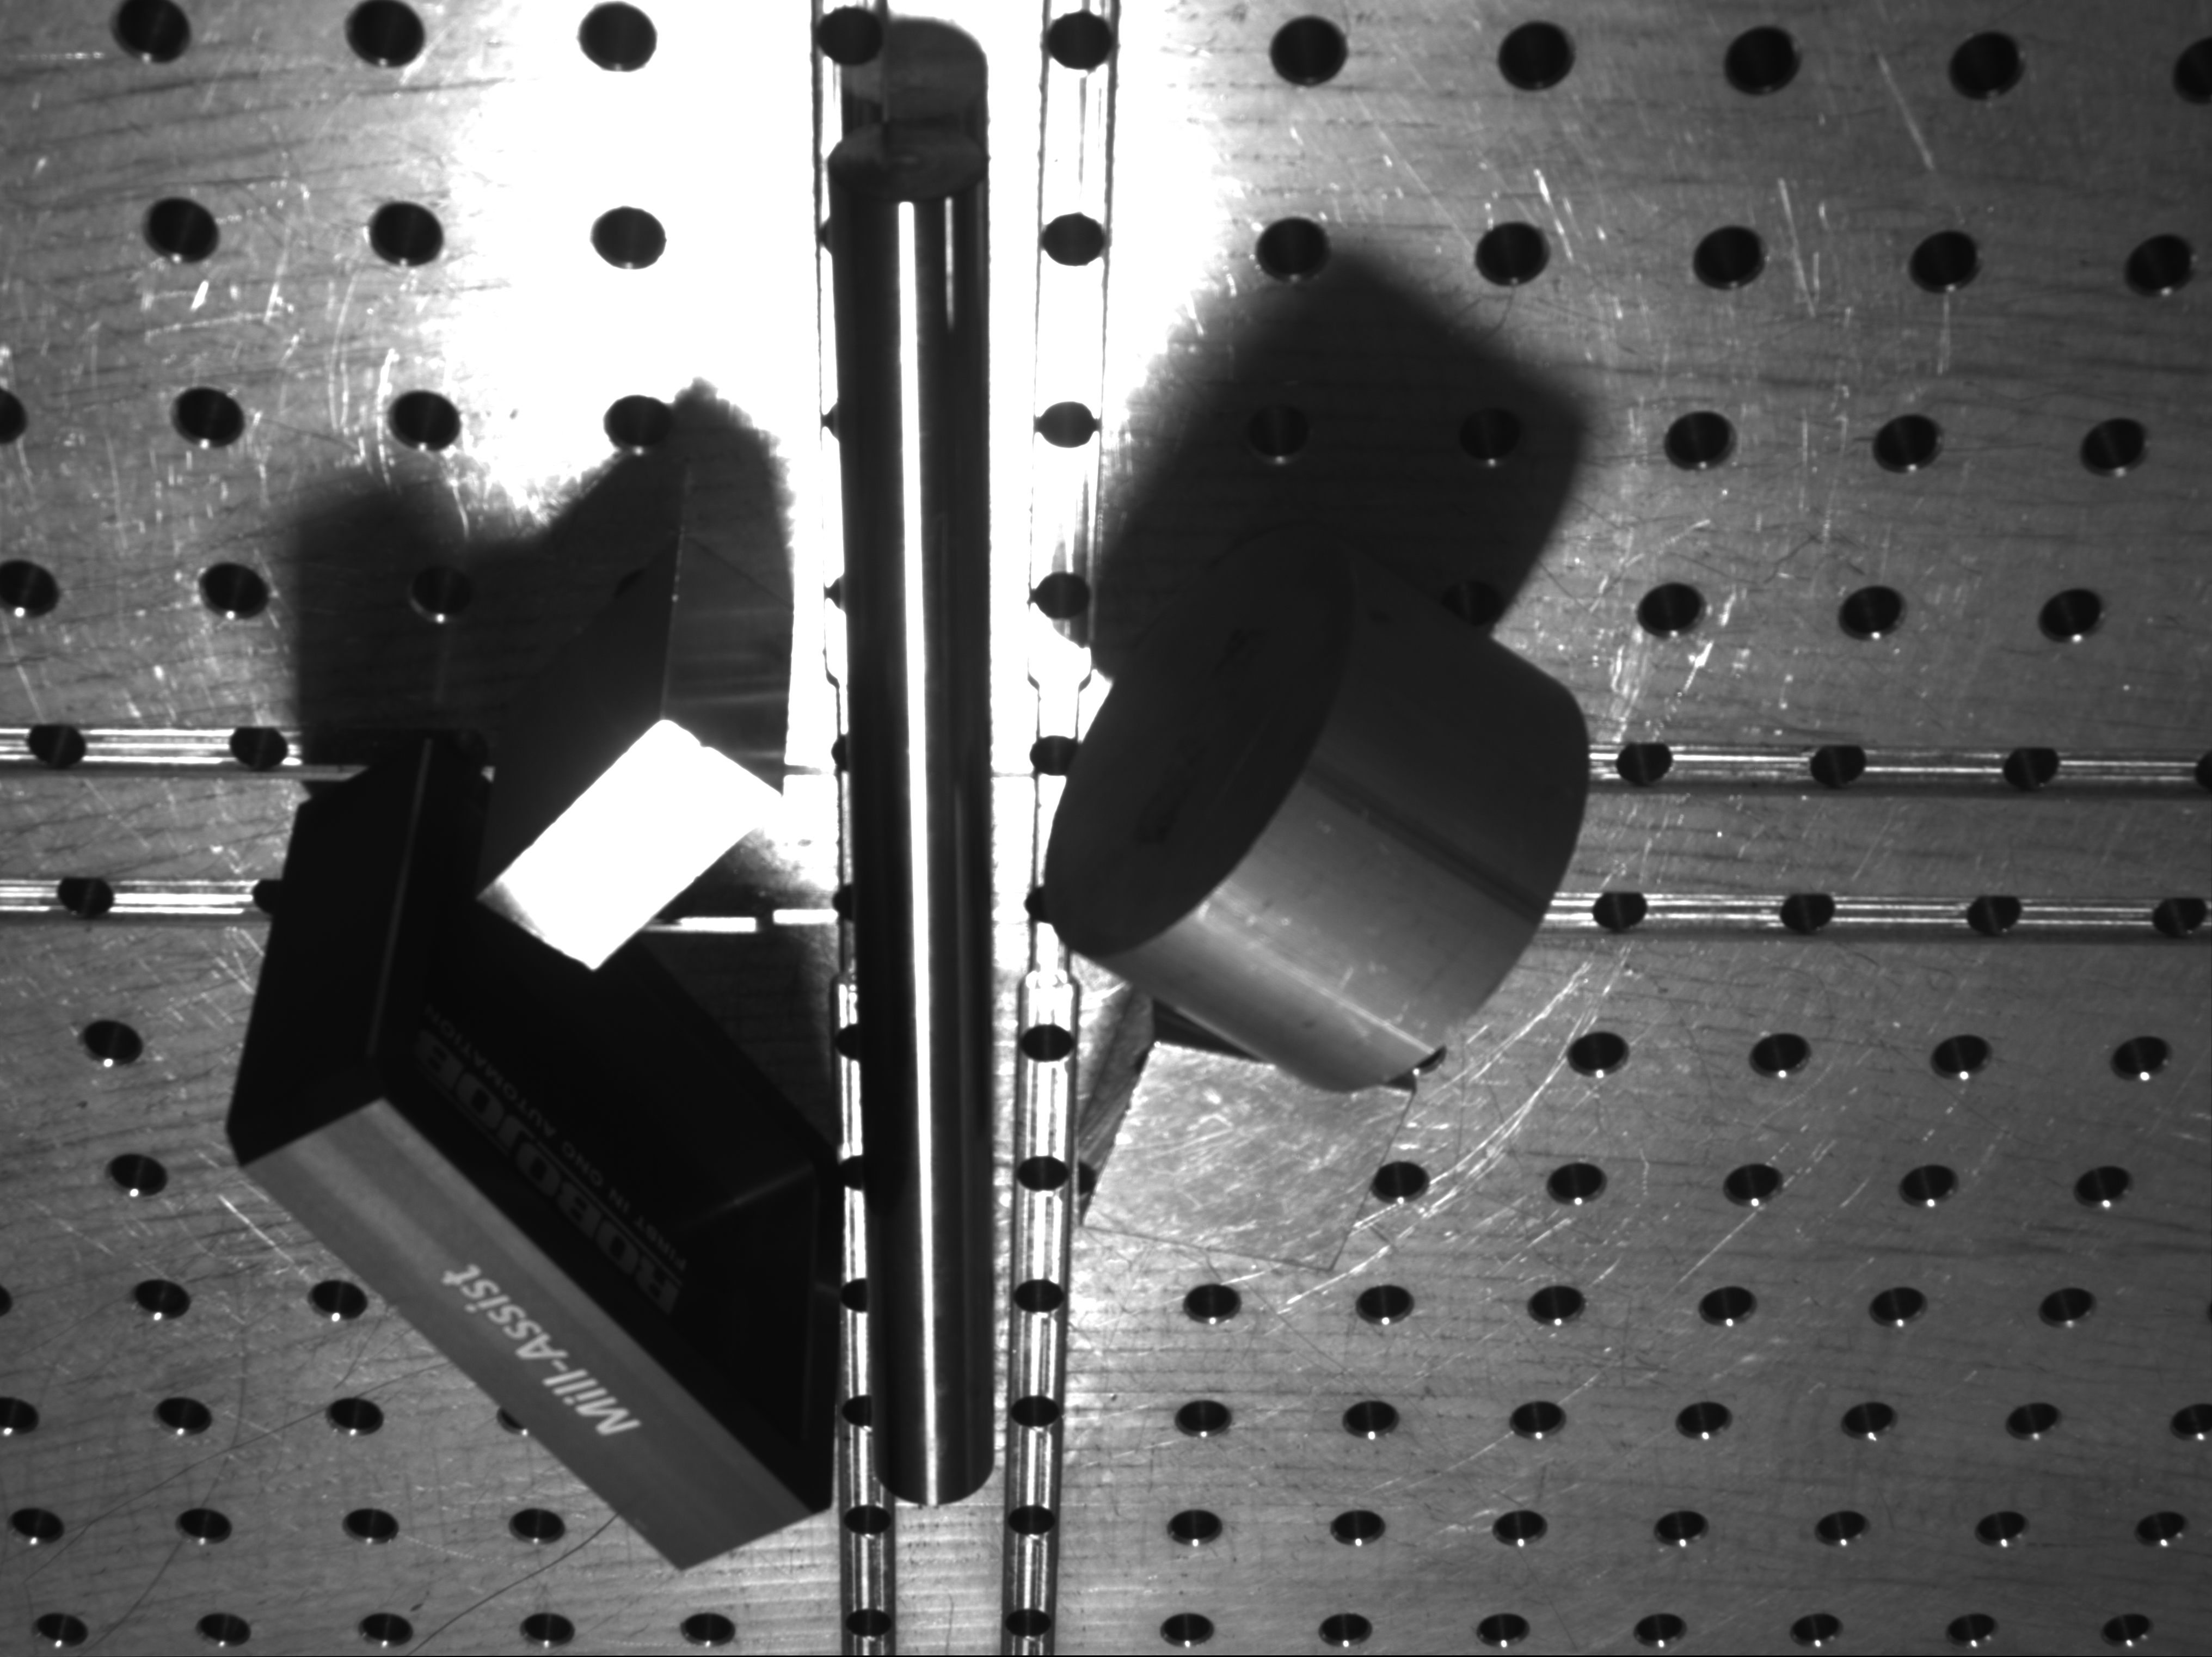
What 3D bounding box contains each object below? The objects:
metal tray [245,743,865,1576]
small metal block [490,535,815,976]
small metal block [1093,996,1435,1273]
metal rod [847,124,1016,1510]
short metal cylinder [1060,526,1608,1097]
[{"bbox_3d":[-0.092,0.059,0.644,0.030,0.090,0.130,-26,126,19],"label":"metal tray"},{"bbox_3d":[-0.075,-0.012,0.611,0.025,0.050,0.050,34,121,-26],"label":"small metal block"},{"bbox_3d":[0.029,0.053,0.688,0.050,0.025,0.050,12,129,-11],"label":"small metal block"},{"bbox_3d":[-0.029,0.014,0.652,0.025,0.025,0.300,0,130,-2],"label":"metal rod"},{"bbox_3d":[0.037,-0.003,0.604,0.050,0.080,0.080,31,123,-24],"label":"short metal cylinder"}]
